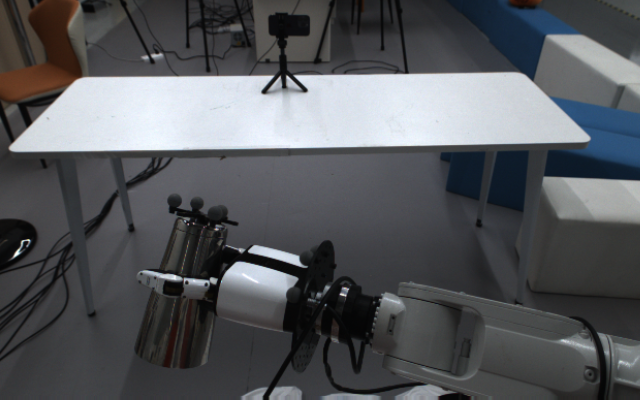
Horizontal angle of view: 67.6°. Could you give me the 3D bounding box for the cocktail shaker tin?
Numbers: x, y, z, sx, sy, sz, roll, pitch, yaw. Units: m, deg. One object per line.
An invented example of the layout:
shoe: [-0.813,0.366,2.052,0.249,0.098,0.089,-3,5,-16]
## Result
cocktail shaker tin: [-0.167,0.112,0.608,0.093,0.170,0.093,13,2,0]
